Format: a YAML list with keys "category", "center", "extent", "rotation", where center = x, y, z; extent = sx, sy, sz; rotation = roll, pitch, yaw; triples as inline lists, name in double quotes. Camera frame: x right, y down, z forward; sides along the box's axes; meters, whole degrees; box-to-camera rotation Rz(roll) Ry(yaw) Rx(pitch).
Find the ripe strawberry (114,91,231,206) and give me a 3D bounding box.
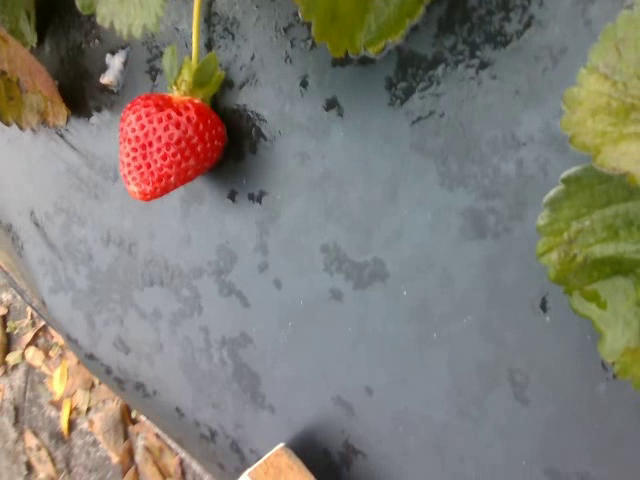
- category: "ripe strawberry"
  center: [-0.064, -0.038, 0.246]
  extent: [0.048, 0.054, 0.045]
  rotation: [30, -16, -35]
